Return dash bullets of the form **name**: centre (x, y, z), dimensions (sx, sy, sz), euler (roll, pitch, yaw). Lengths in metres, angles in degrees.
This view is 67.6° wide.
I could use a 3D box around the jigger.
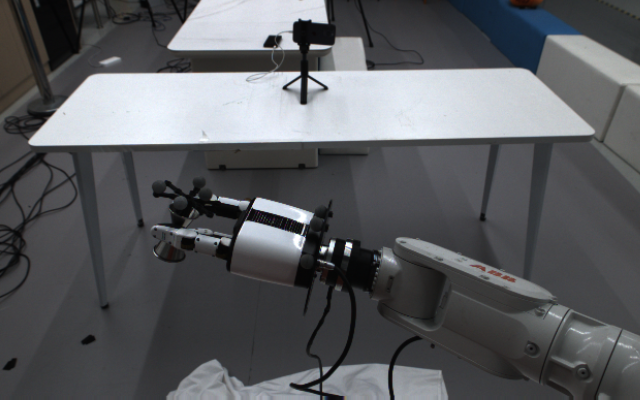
- **jigger**: centre (-0.189, 0.043, 0.635), dimensions (0.043, 0.071, 0.043), euler (22, 20, -8)
